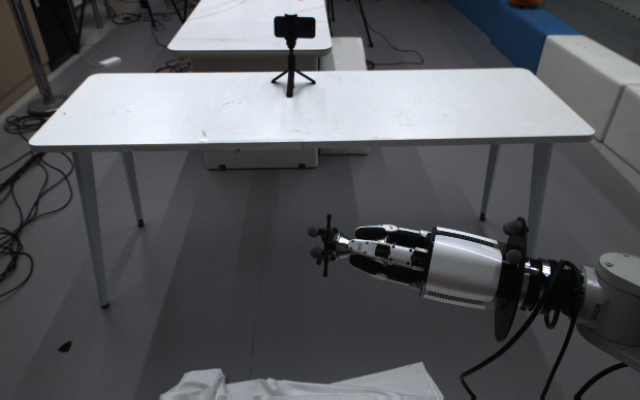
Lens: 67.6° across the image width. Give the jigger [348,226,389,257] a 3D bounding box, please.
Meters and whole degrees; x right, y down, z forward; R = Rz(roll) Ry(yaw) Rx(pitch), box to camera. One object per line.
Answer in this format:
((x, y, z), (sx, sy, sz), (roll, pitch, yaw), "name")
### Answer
((0.067, 0.062, 0.667), (0.071, 0.043, 0.043), (2, 34, 17), "jigger")
